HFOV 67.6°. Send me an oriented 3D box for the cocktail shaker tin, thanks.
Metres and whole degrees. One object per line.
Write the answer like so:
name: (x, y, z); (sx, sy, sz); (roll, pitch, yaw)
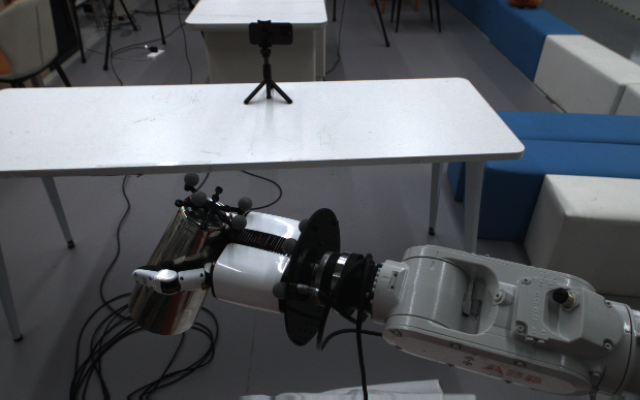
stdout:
cocktail shaker tin: (-0.170, 0.075, 0.611); (0.093, 0.170, 0.093); (25, 29, -15)
